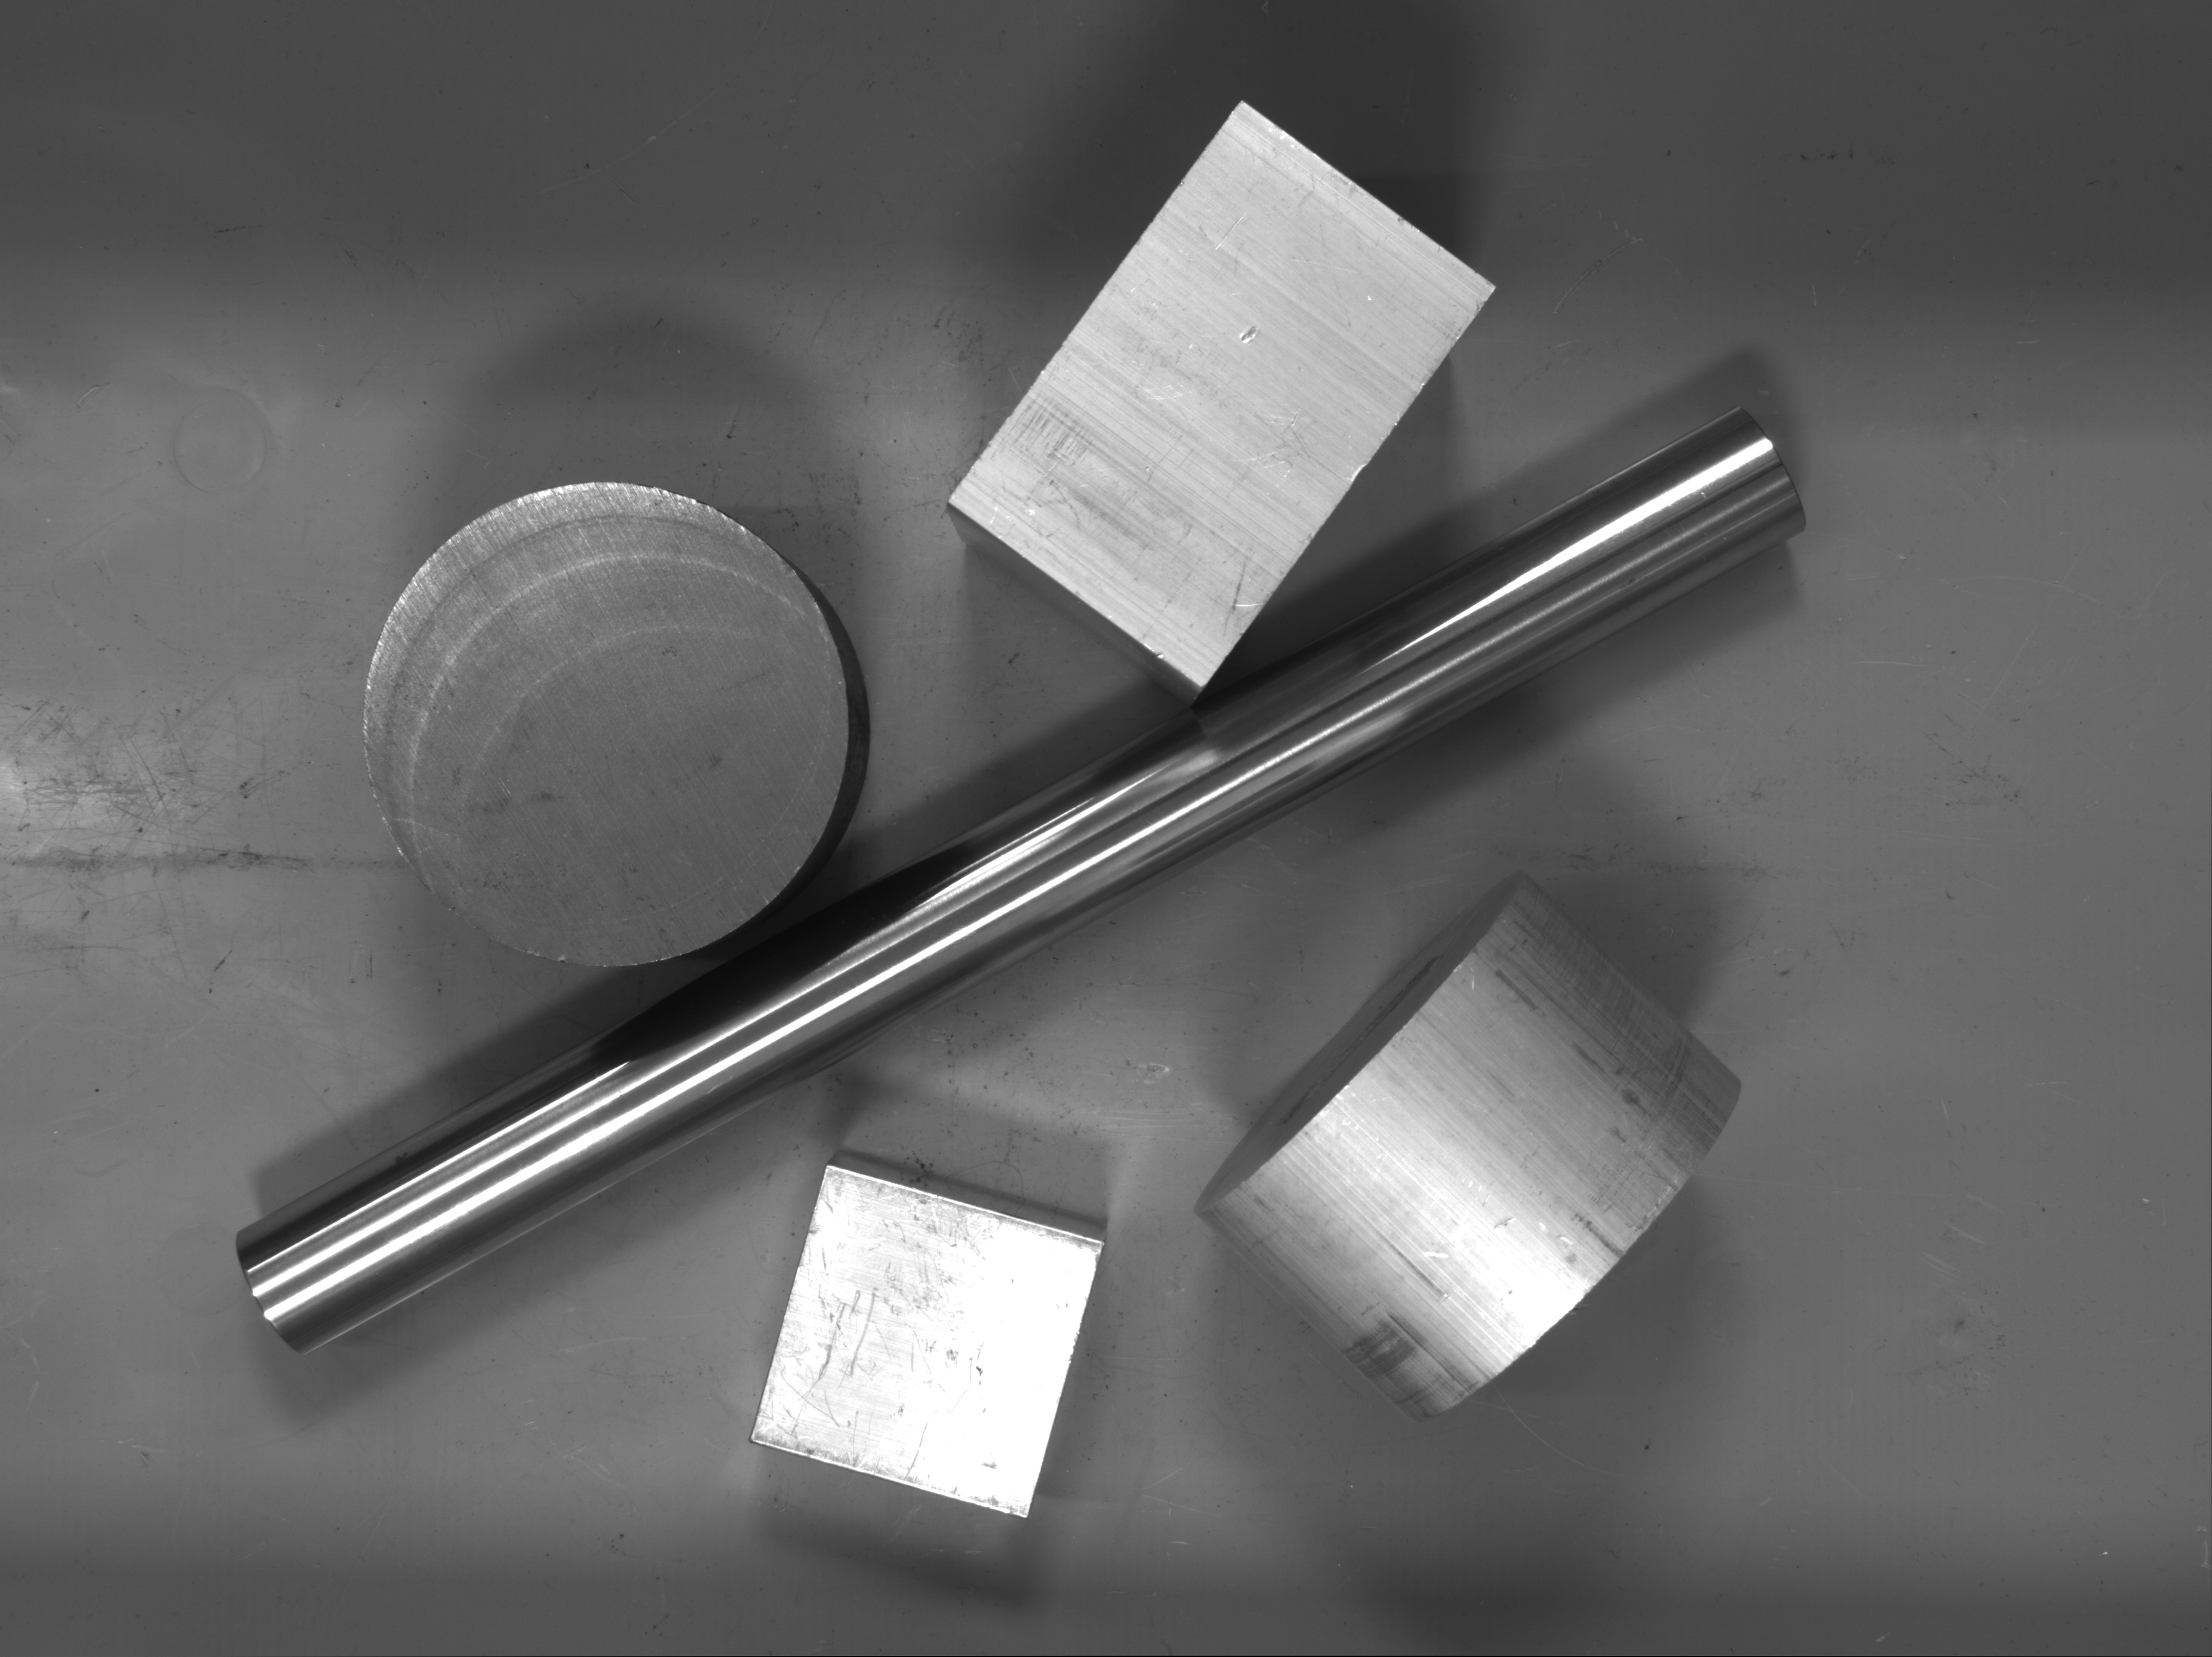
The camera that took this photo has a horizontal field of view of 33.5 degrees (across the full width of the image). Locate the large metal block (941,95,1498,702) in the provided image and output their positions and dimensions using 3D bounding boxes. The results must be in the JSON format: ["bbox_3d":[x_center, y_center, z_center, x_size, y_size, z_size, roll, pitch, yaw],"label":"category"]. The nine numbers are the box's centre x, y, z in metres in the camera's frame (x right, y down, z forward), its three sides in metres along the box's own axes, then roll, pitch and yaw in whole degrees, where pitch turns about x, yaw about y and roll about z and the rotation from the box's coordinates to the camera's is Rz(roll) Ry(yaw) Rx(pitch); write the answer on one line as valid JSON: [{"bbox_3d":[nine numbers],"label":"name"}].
[{"bbox_3d":[0.018,-0.068,0.618,0.050,0.080,0.080,36,90,0],"label":"large metal block"}]

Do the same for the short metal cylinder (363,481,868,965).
[{"bbox_3d":[-0.083,-0.017,0.632,0.080,0.050,0.080,0,90,0],"label":"short metal cylinder"}]

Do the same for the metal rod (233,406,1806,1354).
[{"bbox_3d":[-0.015,0.009,0.645,0.300,0.025,0.025,-29,90,0],"label":"metal rod"}]

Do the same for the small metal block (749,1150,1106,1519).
[{"bbox_3d":[-0.031,0.088,0.645,0.050,0.025,0.050,15,90,0],"label":"small metal block"}]

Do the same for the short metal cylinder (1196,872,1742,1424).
[{"bbox_3d":[0.061,0.053,0.617,0.050,0.080,0.080,43,90,0],"label":"short metal cylinder"}]
